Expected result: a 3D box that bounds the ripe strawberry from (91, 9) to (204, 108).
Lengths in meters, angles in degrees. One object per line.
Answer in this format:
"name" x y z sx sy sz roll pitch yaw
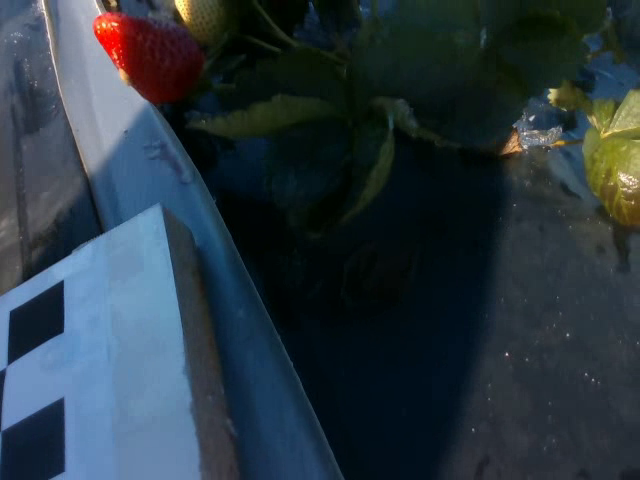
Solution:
"ripe strawberry" -0.066 -0.071 0.226 0.038 0.036 0.045 -42 -47 18
